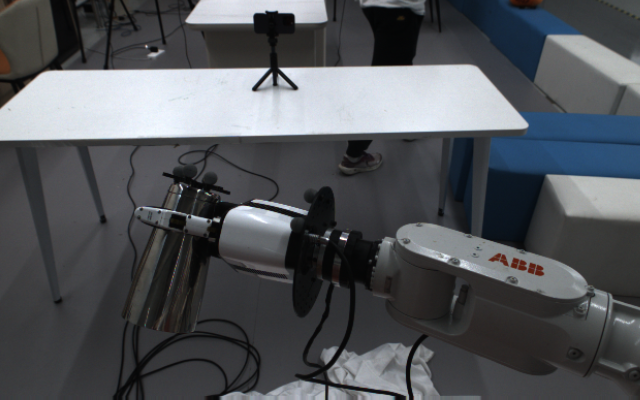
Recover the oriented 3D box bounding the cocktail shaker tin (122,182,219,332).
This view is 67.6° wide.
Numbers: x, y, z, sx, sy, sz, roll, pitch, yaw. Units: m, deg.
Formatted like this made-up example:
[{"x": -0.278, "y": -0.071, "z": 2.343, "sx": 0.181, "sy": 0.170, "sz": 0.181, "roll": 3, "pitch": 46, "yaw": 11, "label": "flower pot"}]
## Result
[{"x": -0.179, "y": 0.070, "z": 0.610, "sx": 0.093, "sy": 0.170, "sz": 0.093, "roll": 14, "pitch": -5, "yaw": 1, "label": "cocktail shaker tin"}]
